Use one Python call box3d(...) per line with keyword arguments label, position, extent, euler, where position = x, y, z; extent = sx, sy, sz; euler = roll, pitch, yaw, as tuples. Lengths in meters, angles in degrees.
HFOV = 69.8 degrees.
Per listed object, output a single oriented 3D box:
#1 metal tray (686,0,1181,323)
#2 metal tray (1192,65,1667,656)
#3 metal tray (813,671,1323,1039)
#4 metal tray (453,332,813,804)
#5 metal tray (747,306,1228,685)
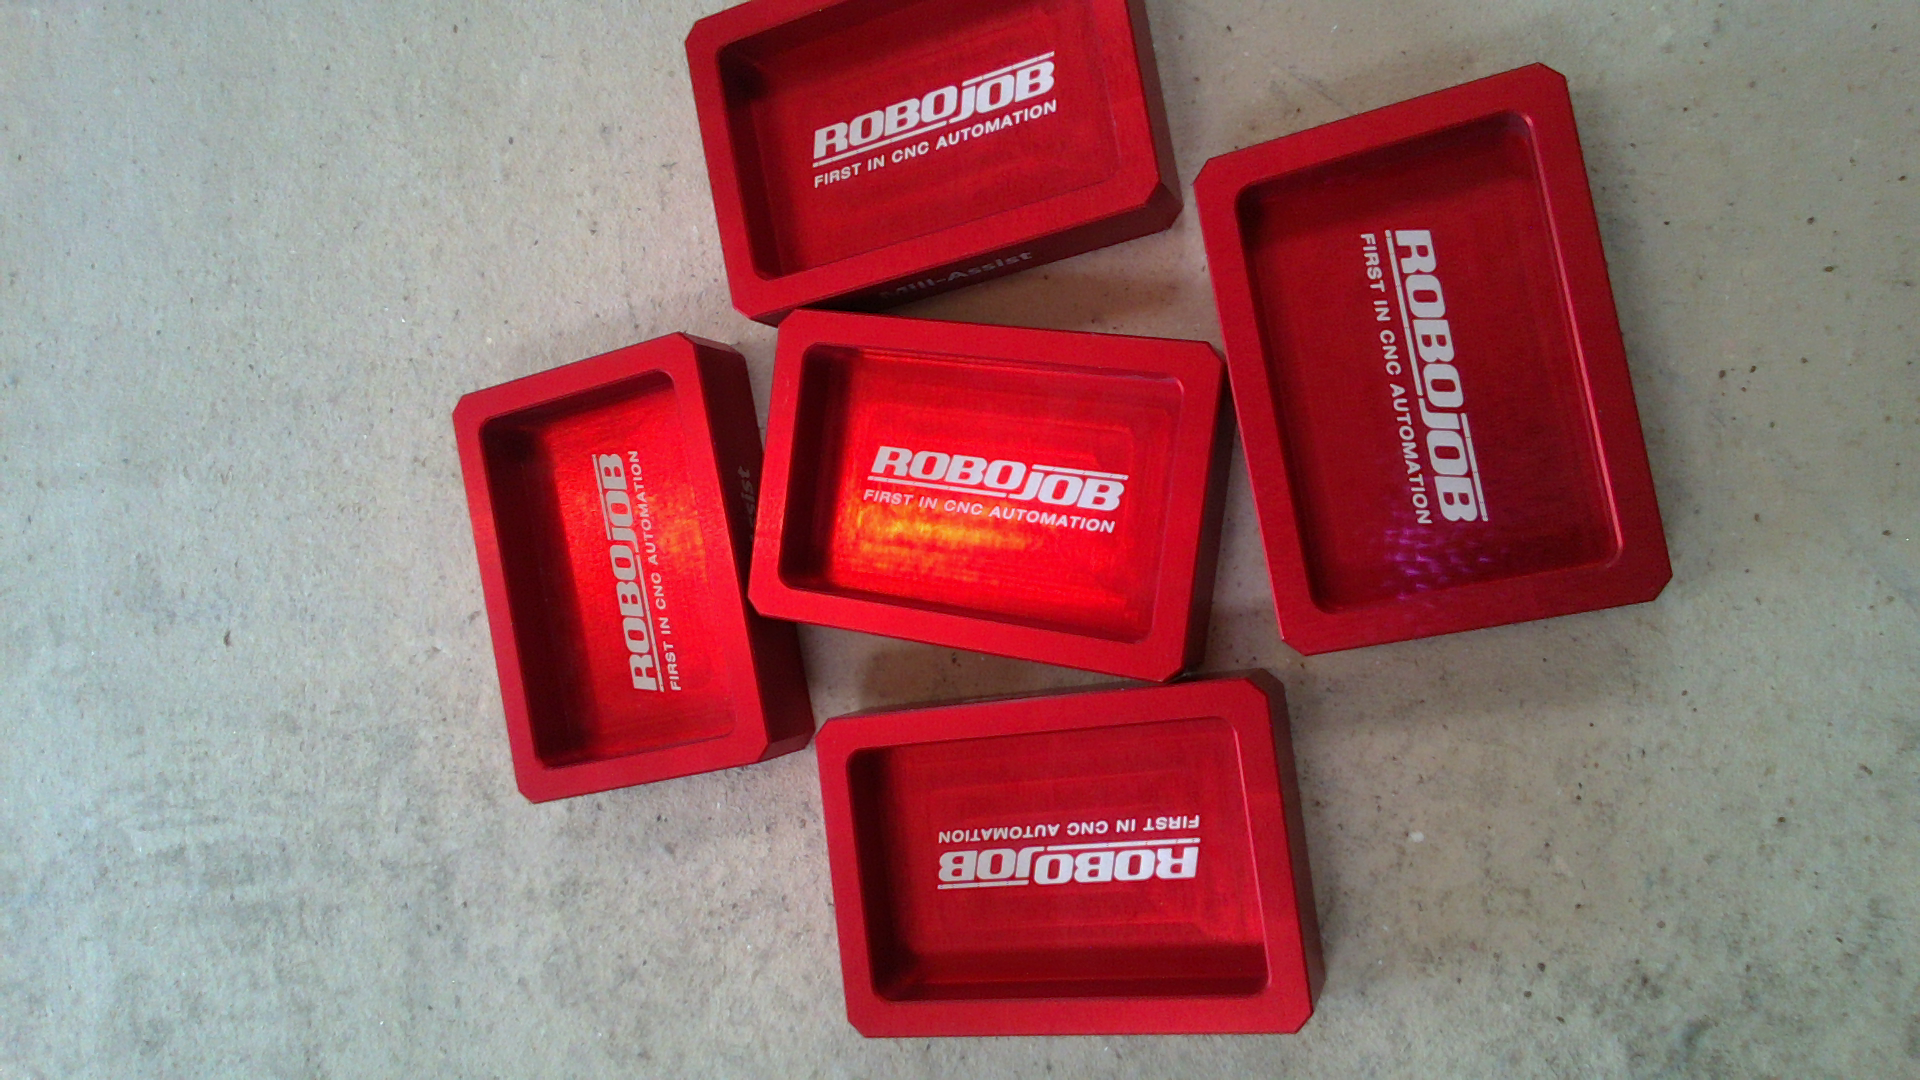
box3d(label="metal tray", position=(-0.010, -0.120, 0.397), extent=(0.130, 0.030, 0.090), euler=(-12, 86, 20))
box3d(label="metal tray", position=(0.117, -0.042, 0.351), extent=(0.090, 0.030, 0.130), euler=(-12, 87, 20))
box3d(label="metal tray", position=(0.028, 0.088, 0.383), extent=(0.130, 0.030, 0.090), euler=(-8, 87, 20))
box3d(label="metal tray", position=(-0.103, 0.010, 0.431), extent=(0.090, 0.030, 0.130), euler=(-13, 86, 20))
box3d(label="metal tray", position=(0.007, -0.015, 0.391), extent=(0.130, 0.030, 0.090), euler=(8, 95, 20))
